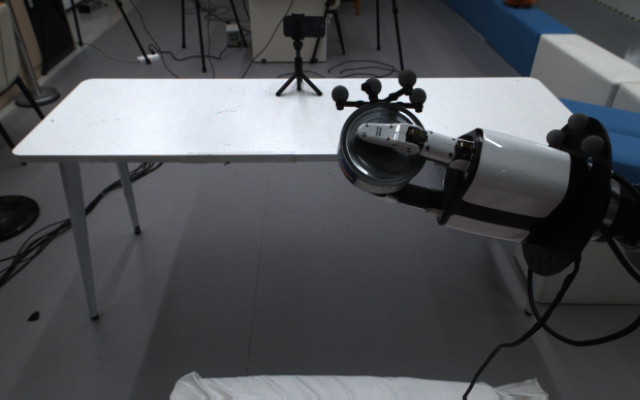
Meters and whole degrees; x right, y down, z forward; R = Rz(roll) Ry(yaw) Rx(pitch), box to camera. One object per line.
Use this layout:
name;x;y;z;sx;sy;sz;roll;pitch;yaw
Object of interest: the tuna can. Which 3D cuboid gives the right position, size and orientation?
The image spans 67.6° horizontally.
tuna can;0.062;-0.053;0.476;0.085;0.034;0.085;1;71;-4
